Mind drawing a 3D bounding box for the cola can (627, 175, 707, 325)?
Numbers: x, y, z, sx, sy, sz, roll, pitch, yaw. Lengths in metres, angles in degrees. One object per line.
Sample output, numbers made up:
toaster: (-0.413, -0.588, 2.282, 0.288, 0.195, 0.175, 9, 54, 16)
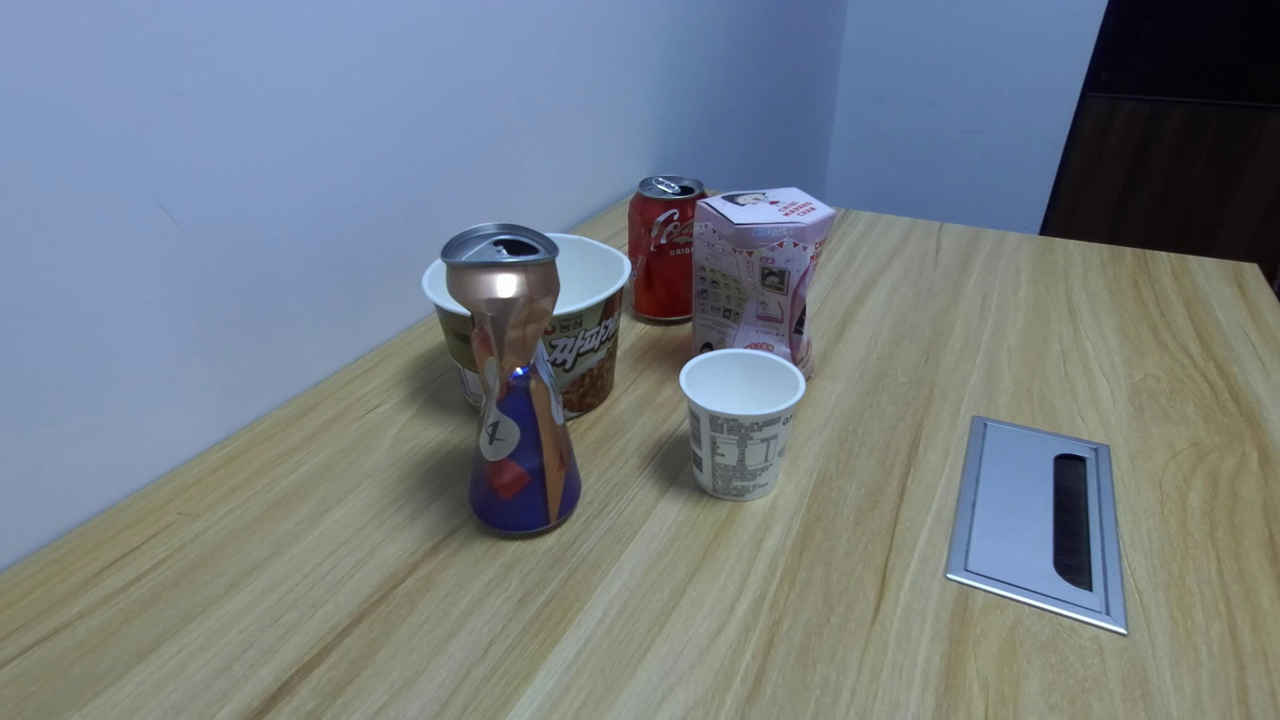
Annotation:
cola can: (0.025, -0.092, 0.595, 0.067, 0.117, 0.065, -19, 34, -31)

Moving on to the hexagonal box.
hexagonal box: (0.083, -0.044, 0.496, 0.093, 0.135, 0.088, 0, 31, 0)

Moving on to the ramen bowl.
ramen bowl: (-0.075, -0.021, 0.505, 0.140, 0.095, 0.140, -1, 29, 1)

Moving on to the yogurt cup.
yogurt cup: (0.058, 0.040, 0.416, 0.072, 0.068, 0.072, -1, 31, 1)

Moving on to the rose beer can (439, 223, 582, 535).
rose beer can: (-0.069, 0.015, 0.379, 0.073, 0.162, 0.068, 20, 36, 31)
